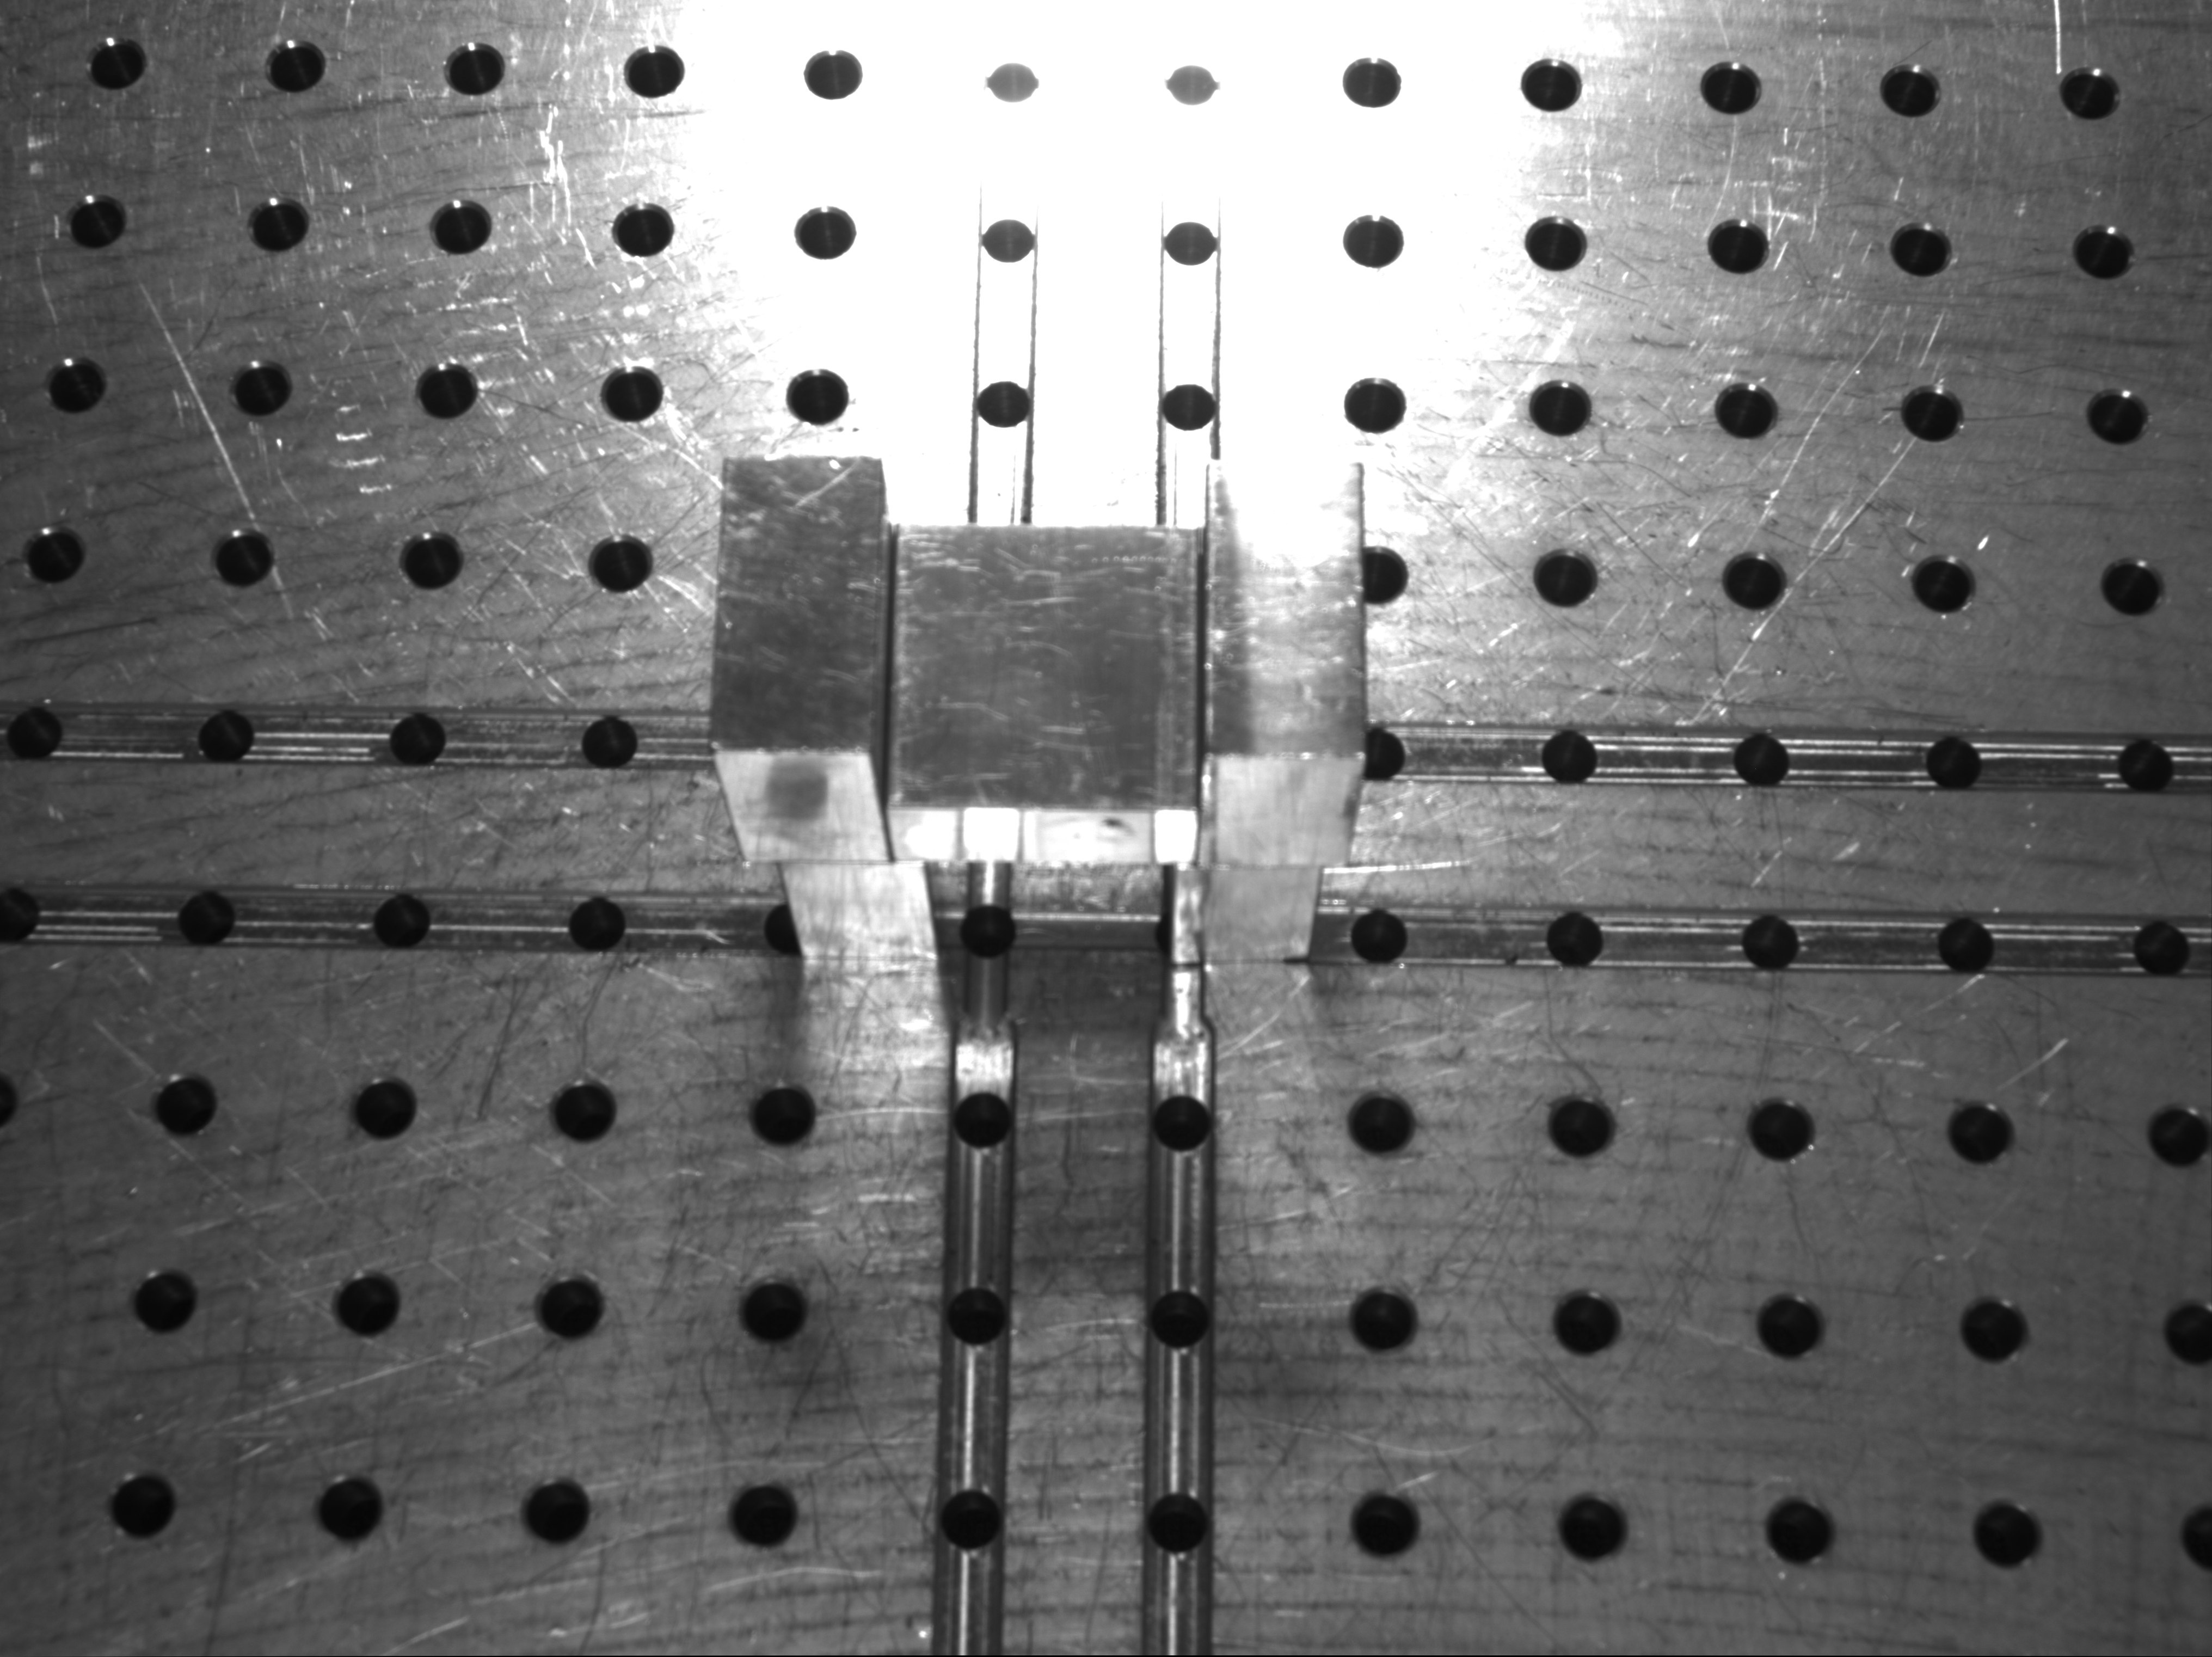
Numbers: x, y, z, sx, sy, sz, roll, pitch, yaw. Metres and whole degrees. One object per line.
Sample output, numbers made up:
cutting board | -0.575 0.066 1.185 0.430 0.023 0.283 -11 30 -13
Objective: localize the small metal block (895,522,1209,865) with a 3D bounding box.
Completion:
small metal block | -0.008 -0.022 0.603 0.050 0.025 0.050 1 70 0

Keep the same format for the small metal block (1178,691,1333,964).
small metal block | 0.025 -0.008 0.637 0.025 0.050 0.050 -1 70 0

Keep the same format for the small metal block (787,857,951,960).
small metal block | -0.040 -0.009 0.637 0.025 0.050 0.050 1 70 0

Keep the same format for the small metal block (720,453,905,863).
small metal block | -0.046 -0.027 0.590 0.025 0.050 0.050 1 69 1

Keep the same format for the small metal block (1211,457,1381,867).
small metal block | 0.030 -0.026 0.589 0.025 0.050 0.050 1 69 1
